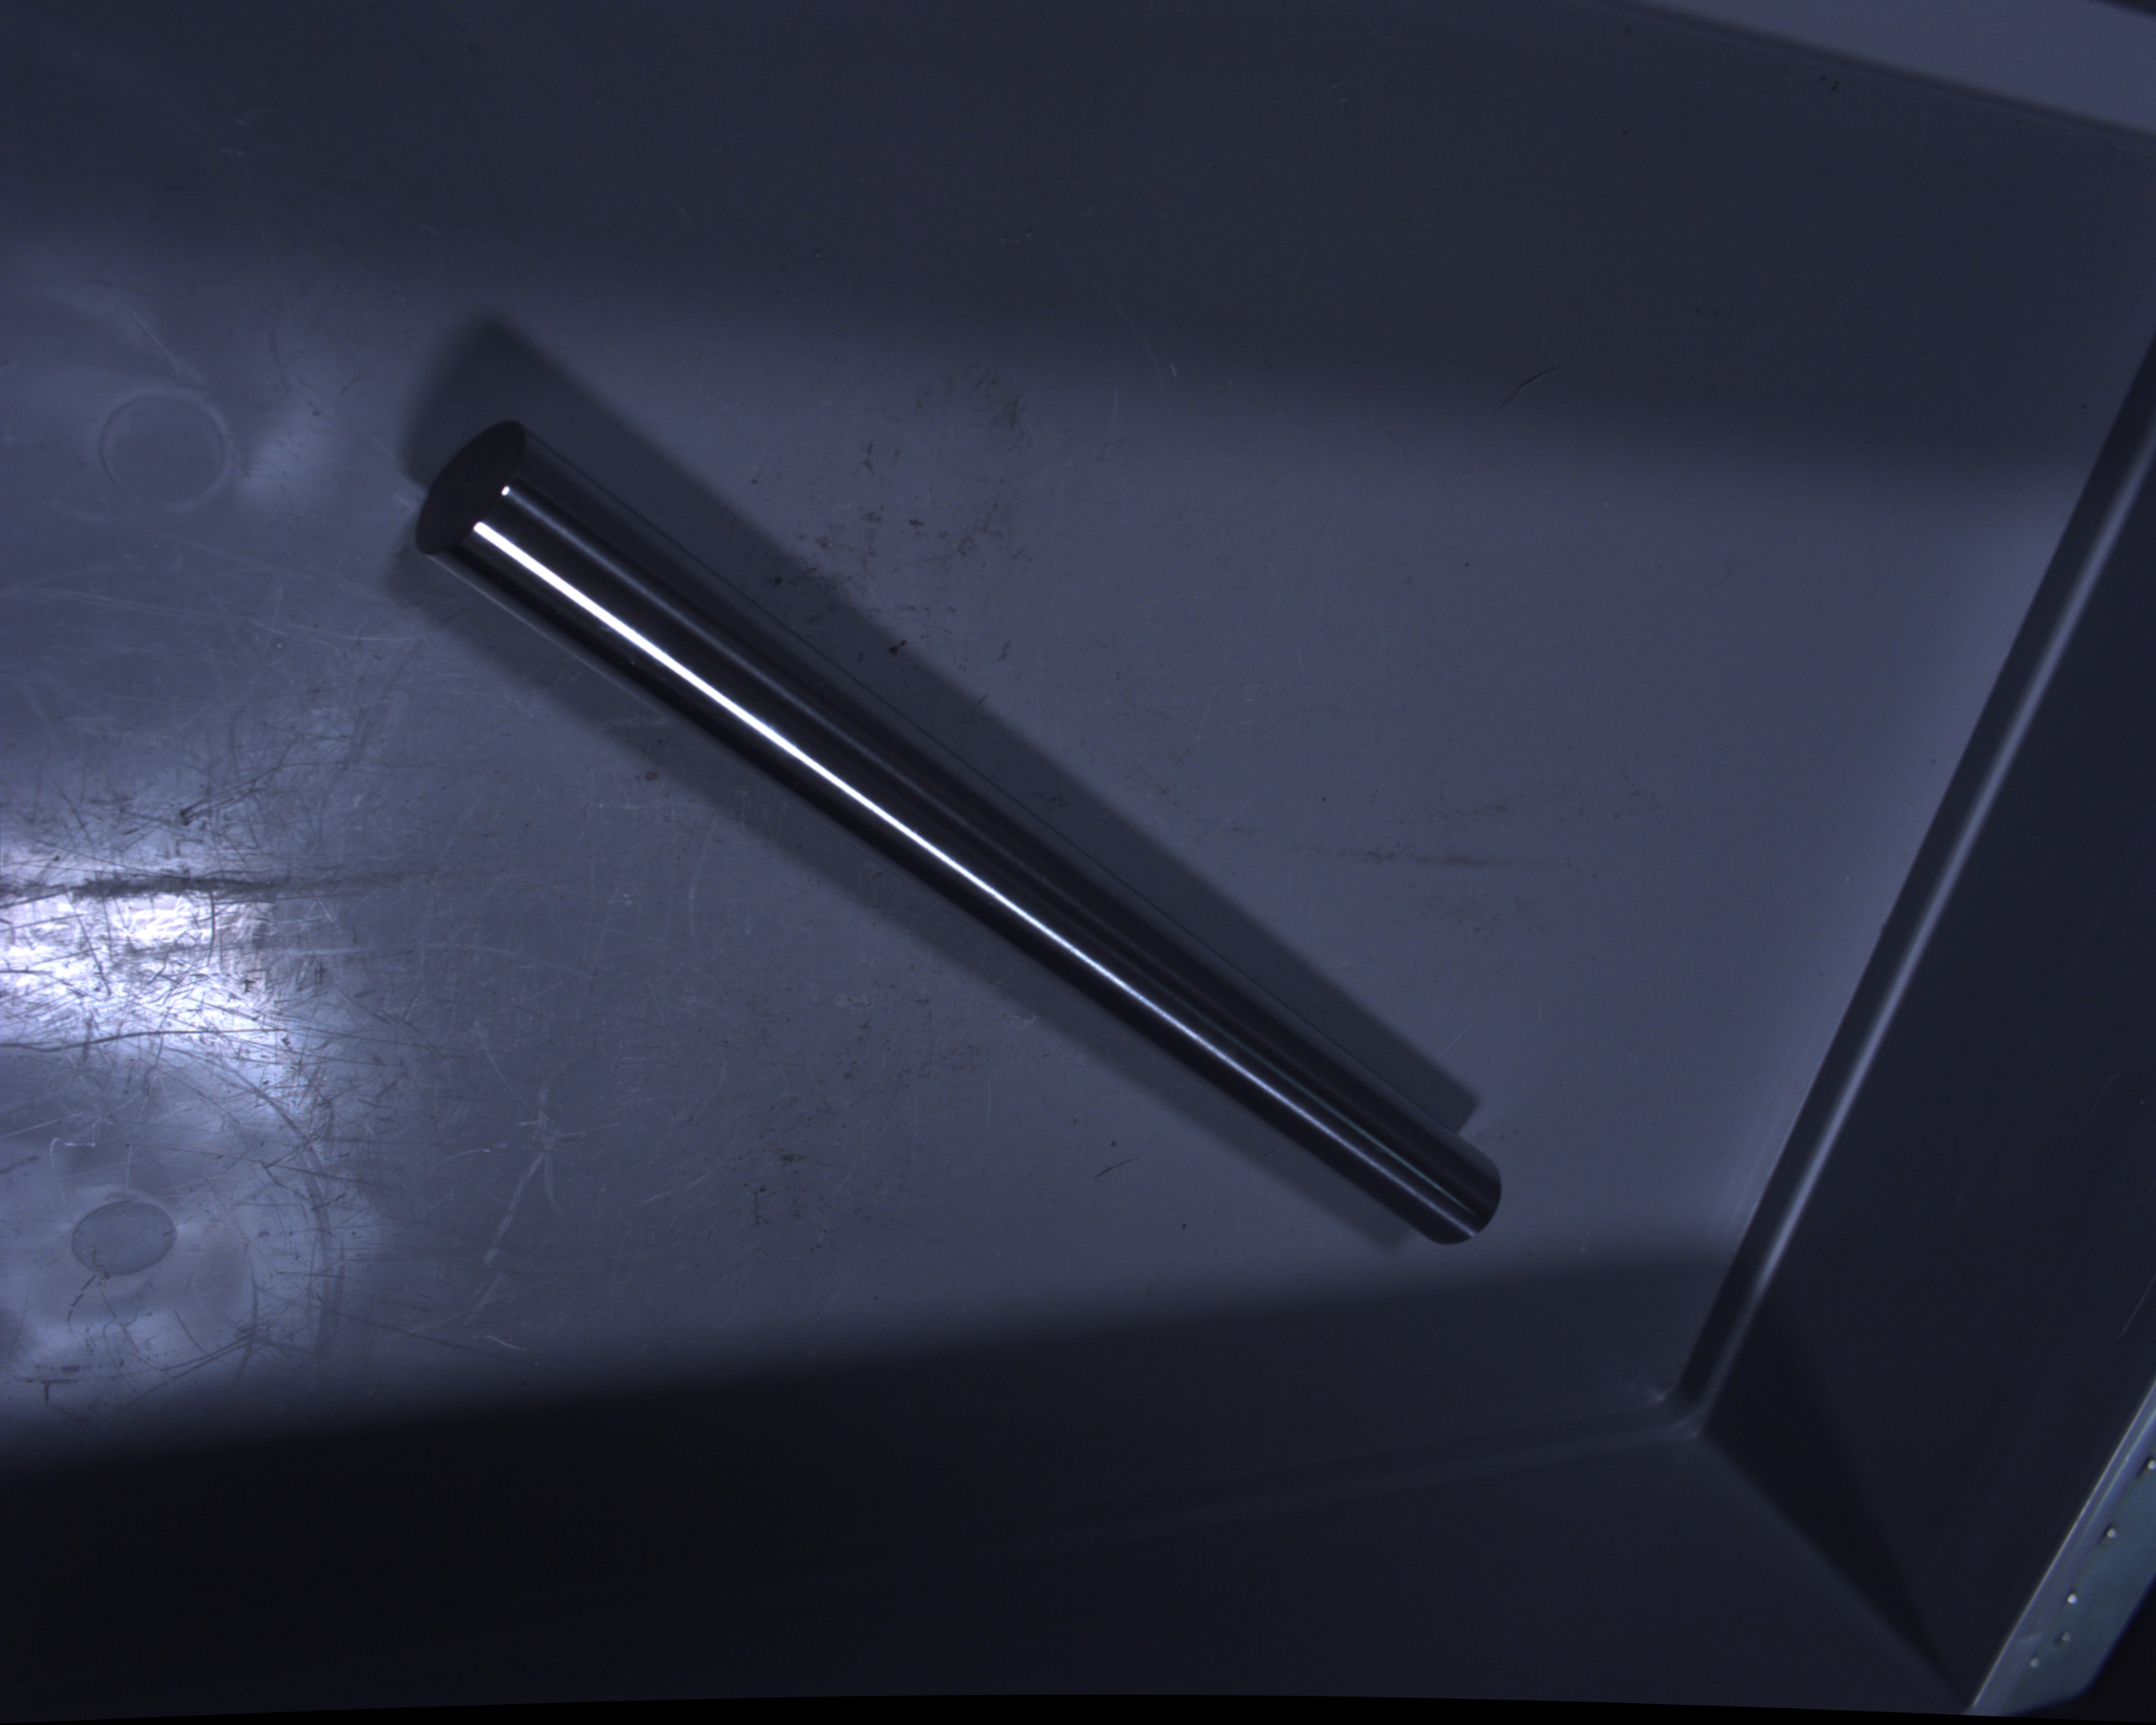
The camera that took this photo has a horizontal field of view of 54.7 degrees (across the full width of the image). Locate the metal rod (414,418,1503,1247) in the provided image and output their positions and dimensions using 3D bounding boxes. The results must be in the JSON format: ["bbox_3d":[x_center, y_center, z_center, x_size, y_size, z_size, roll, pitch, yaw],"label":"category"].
[{"bbox_3d":[0.000,0.012,0.415,0.025,0.025,0.301,-48,129,6],"label":"metal rod"}]
